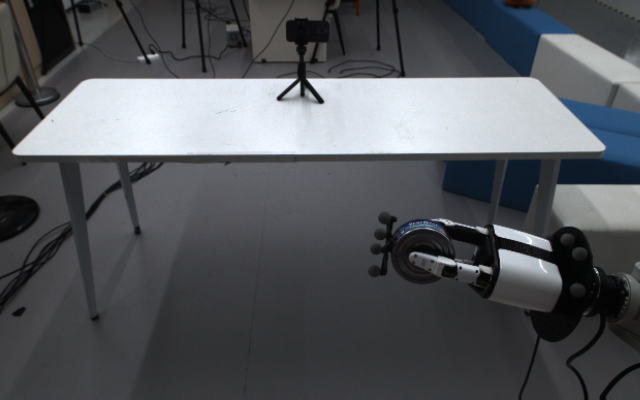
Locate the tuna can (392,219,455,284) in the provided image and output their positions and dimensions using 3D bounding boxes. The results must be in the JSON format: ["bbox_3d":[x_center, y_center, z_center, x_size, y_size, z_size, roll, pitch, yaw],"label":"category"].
[{"bbox_3d":[0.141,0.069,0.660,0.085,0.085,0.034,4,17,3],"label":"tuna can"}]
